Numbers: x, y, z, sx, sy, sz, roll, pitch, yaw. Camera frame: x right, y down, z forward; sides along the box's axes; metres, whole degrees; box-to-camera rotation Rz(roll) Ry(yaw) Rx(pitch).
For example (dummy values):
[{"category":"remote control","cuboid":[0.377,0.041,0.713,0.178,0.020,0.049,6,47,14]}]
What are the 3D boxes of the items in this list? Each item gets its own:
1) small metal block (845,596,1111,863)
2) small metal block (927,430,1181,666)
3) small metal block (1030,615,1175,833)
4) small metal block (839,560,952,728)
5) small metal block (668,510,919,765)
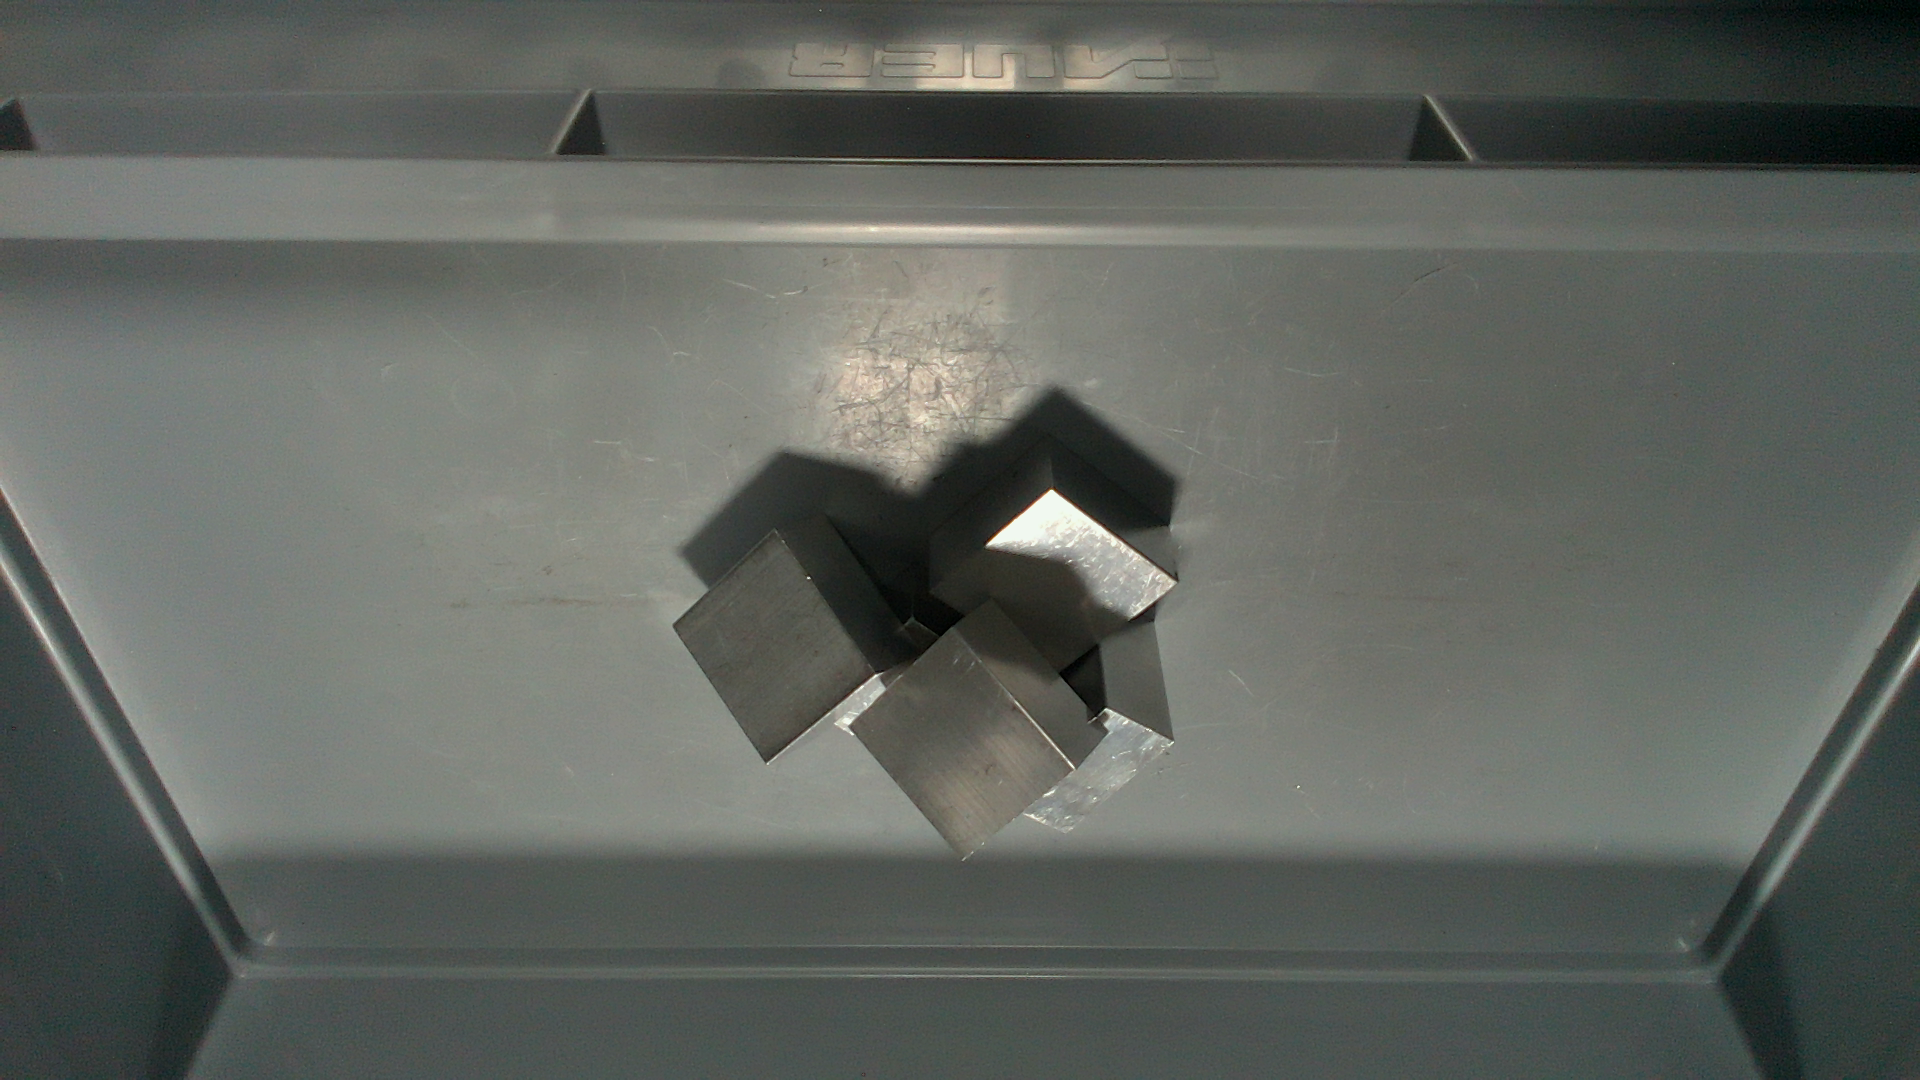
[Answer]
[{"category":"small metal block","cuboid":[0.005,0.053,0.385,0.050,0.025,0.050,48,121,6]},{"category":"small metal block","cuboid":[0.026,0.005,0.393,0.050,0.025,0.050,35,122,-26]},{"category":"small metal block","cuboid":[0.036,0.051,0.416,0.025,0.050,0.050,28,125,-22]},{"category":"small metal block","cuboid":[-0.012,0.041,0.423,0.050,0.025,0.050,35,122,-26]},{"category":"small metal block","cuboid":[-0.048,0.028,0.396,0.050,0.025,0.050,-40,81,29]}]
